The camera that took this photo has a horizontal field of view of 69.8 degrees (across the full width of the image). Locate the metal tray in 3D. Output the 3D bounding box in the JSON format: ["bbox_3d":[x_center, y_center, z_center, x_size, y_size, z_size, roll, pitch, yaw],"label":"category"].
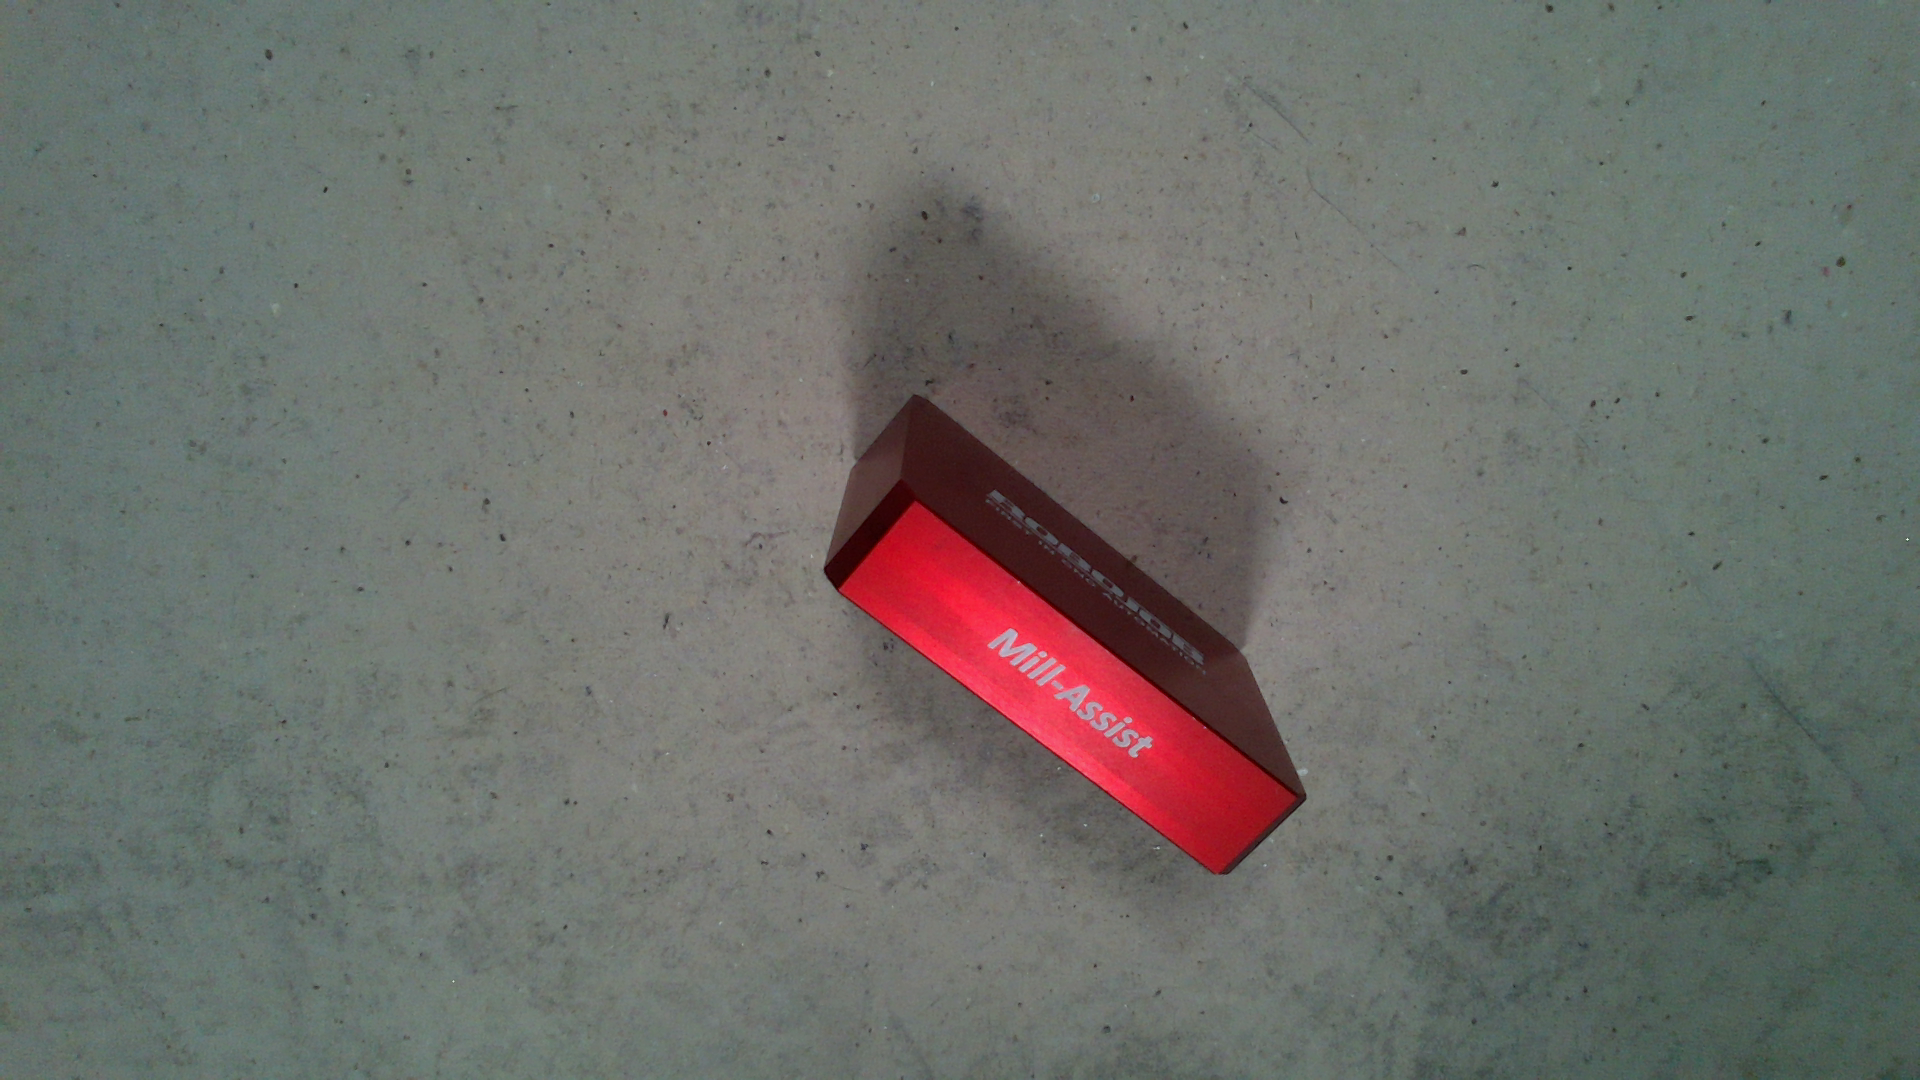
[{"bbox_3d":[0.027,0.022,0.368,0.130,0.090,0.030,38,106,-13],"label":"metal tray"}]
